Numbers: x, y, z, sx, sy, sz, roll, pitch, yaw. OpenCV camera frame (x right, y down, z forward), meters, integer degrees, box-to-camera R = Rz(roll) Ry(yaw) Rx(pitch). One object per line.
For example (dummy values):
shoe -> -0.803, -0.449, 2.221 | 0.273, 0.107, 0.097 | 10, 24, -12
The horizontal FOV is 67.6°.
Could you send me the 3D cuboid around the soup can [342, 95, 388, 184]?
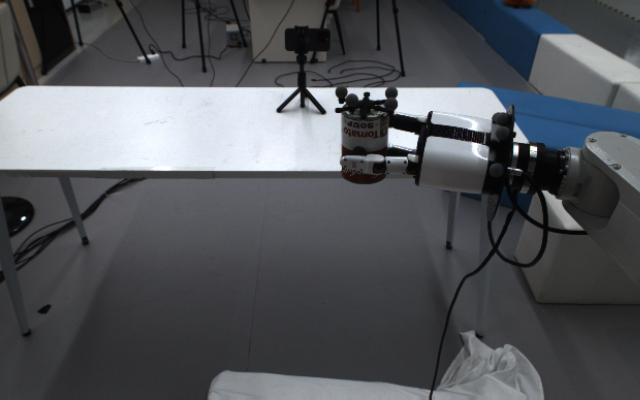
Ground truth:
soup can -> 0.065, -0.084, 0.690 | 0.067, 0.101, 0.067 | -2, 34, 1
